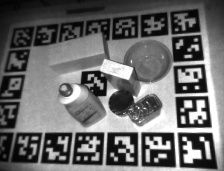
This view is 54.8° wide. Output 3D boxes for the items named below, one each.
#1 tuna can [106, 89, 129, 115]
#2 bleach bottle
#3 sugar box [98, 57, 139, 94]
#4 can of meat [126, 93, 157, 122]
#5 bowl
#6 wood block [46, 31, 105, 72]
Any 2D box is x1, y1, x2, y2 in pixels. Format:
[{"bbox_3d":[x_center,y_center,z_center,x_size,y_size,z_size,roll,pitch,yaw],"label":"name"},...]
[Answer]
[{"bbox_3d":[0.014,0.055,0.723,0.085,0.034,0.085,-3,73,12],"label":"tuna can"},{"bbox_3d":[-0.109,0.047,0.639,0.102,0.253,0.067,-27,65,4],"label":"bleach bottle"},{"bbox_3d":[0.021,-0.027,0.674,0.092,0.178,0.045,18,78,23],"label":"sugar box"},{"bbox_3d":[0.092,0.069,0.681,0.102,0.084,0.057,-31,63,-1],"label":"can of meat"},{"bbox_3d":[0.116,-0.087,0.742,0.160,0.056,0.161,-5,69,15],"label":"bowl"},{"bbox_3d":[-0.137,-0.123,0.796,0.205,0.090,0.090,-11,73,8],"label":"wood block"}]
